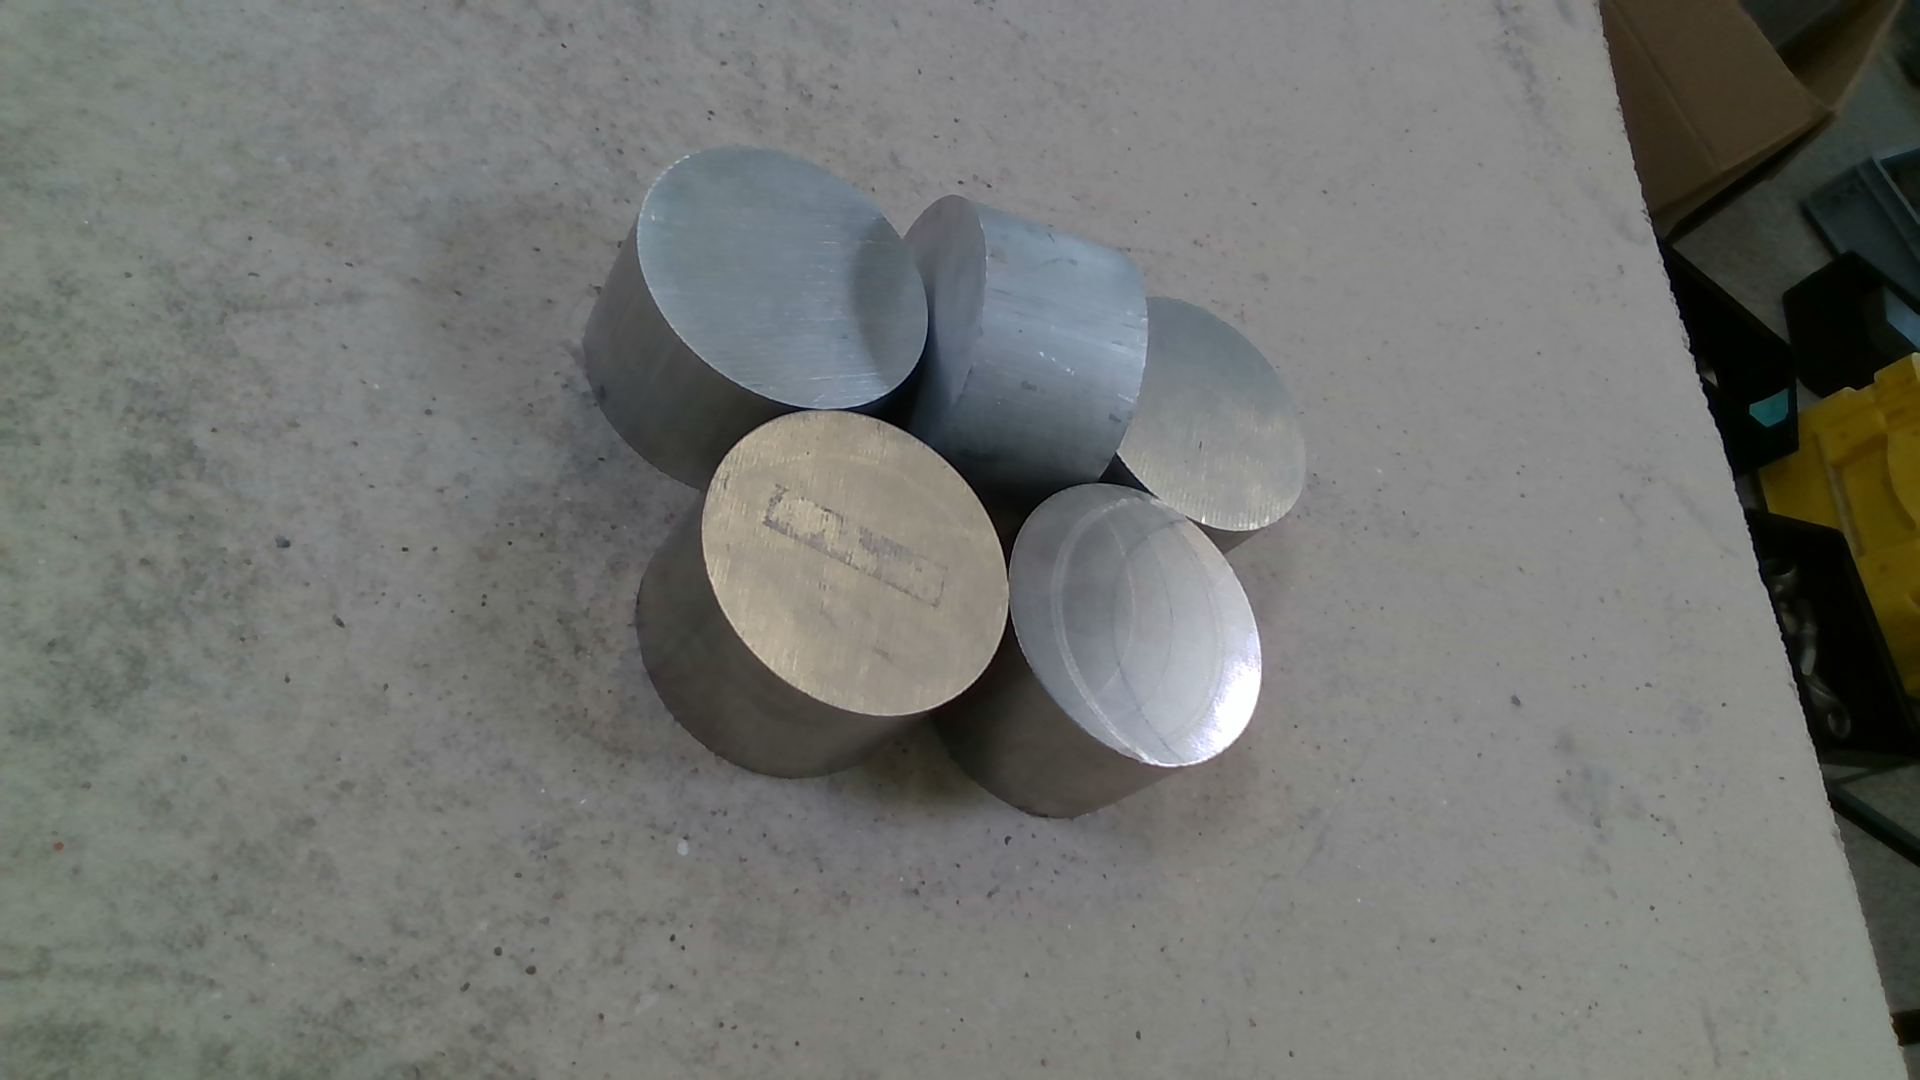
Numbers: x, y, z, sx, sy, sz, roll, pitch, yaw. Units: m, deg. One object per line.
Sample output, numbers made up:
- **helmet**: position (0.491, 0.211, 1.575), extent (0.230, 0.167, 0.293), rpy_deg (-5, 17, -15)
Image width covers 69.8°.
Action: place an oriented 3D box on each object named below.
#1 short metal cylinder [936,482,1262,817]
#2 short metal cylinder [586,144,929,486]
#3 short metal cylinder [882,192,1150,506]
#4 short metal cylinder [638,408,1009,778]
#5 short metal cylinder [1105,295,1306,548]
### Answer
- **short metal cylinder**: position (0.036, 0.031, 0.382), extent (0.080, 0.050, 0.080), rpy_deg (14, 59, -24)
- **short metal cylinder**: position (-0.056, -0.059, 0.374), extent (0.080, 0.050, 0.080), rpy_deg (15, 58, -24)
- **short metal cylinder**: position (0.010, -0.052, 0.392), extent (0.050, 0.080, 0.080), rpy_deg (11, 60, -26)
- **short metal cylinder**: position (-0.035, 0.014, 0.348), extent (0.080, 0.050, 0.080), rpy_deg (15, 58, -24)
- **short metal cylinder**: position (0.060, -0.029, 0.429), extent (0.080, 0.050, 0.080), rpy_deg (15, 58, -24)
